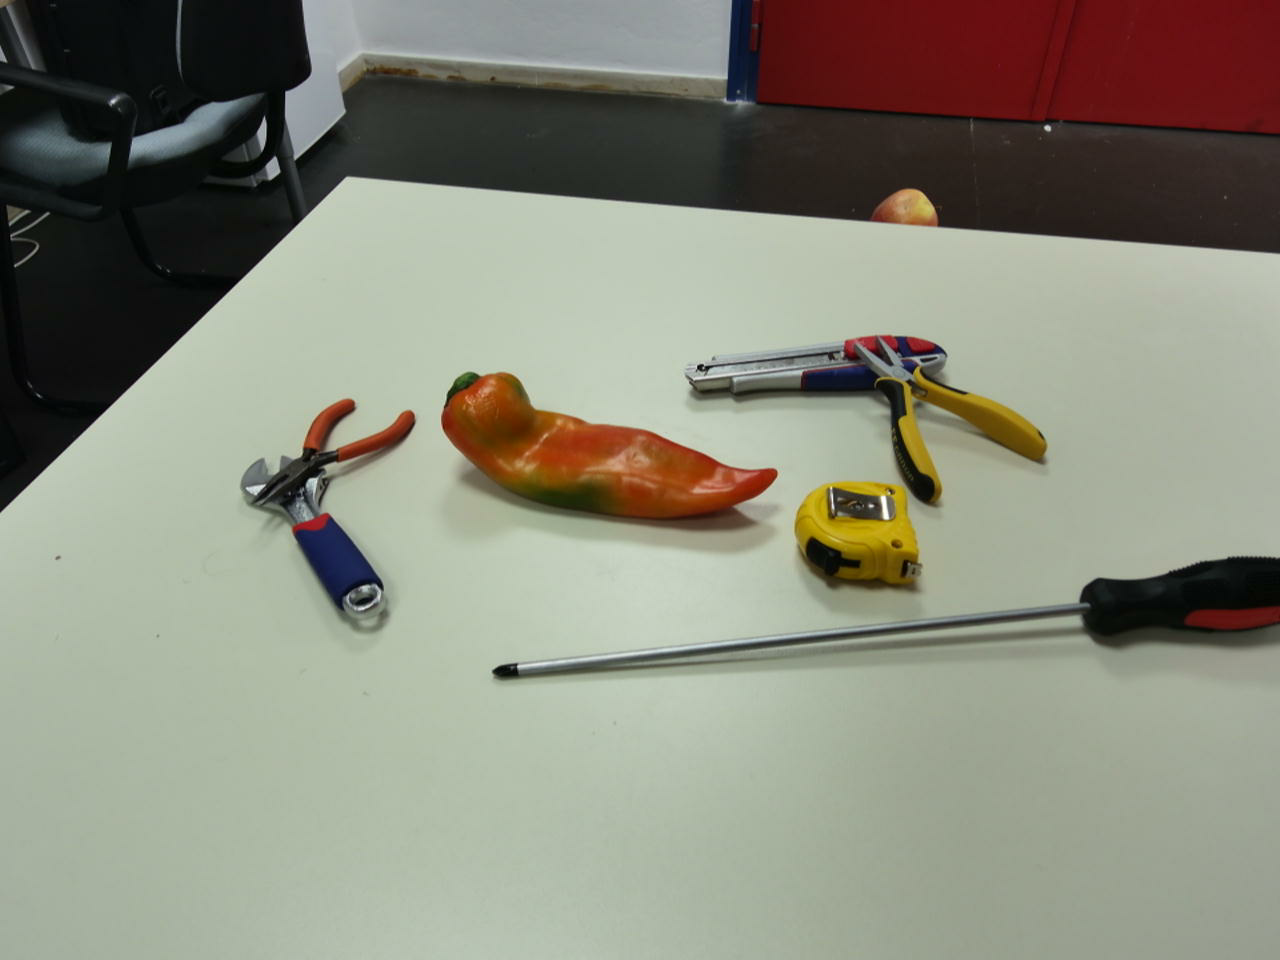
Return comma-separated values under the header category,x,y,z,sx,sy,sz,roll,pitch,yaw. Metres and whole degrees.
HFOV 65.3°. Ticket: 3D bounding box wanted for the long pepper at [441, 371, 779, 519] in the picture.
category,x,y,z,sx,sy,sz,roll,pitch,yaw
long pepper,-0.020,-0.020,0.578,0.199,0.065,0.066,11,41,14
